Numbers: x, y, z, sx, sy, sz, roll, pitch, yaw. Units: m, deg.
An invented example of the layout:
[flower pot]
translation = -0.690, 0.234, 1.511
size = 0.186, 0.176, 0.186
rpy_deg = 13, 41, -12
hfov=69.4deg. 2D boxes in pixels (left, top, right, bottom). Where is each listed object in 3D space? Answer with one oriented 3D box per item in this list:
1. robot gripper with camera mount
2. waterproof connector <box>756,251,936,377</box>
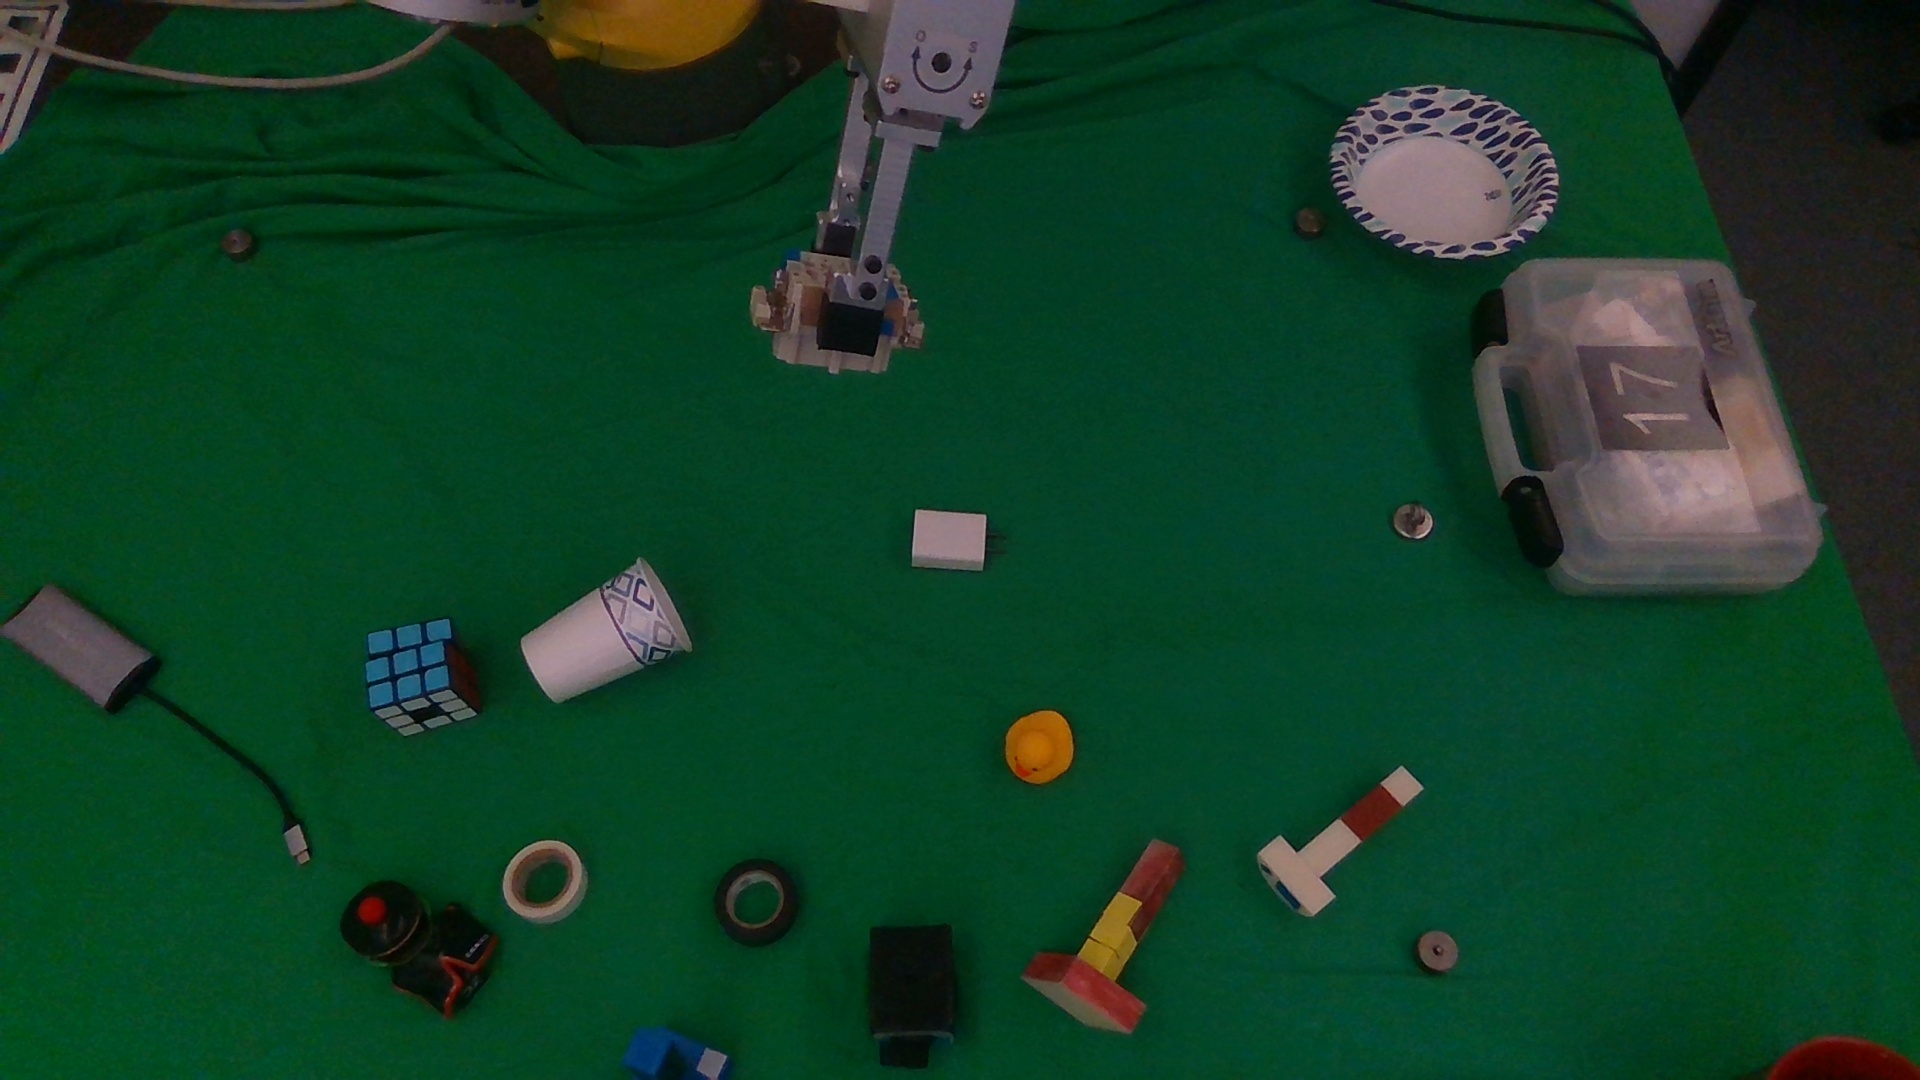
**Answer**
[robot gripper with camera mount]
translation = -0.104, -0.147, 0.448
size = 0.193, 0.159, 0.119
rpy_deg = 3, 36, -18
[waterproof connector]
translation = -0.043, -0.083, 0.517
size = 0.065, 0.037, 0.035
rpy_deg = 5, 31, -20
